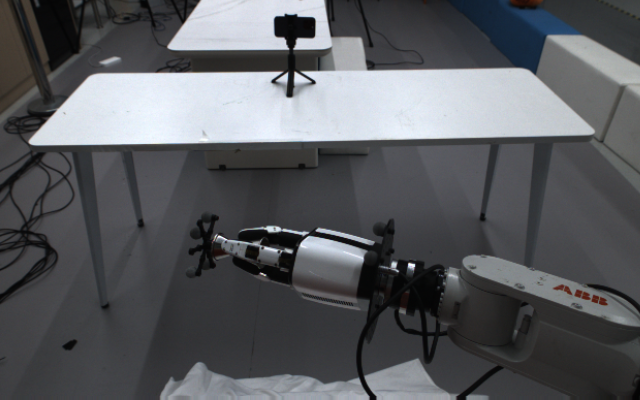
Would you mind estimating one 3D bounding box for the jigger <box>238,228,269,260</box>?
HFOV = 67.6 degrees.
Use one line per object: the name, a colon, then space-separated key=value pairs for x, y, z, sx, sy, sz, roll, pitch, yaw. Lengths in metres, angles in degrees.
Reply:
jigger: x=-0.102 y=0.065 z=0.658 sx=0.071 sy=0.043 sz=0.043 roll=6 pitch=35 yaw=14
